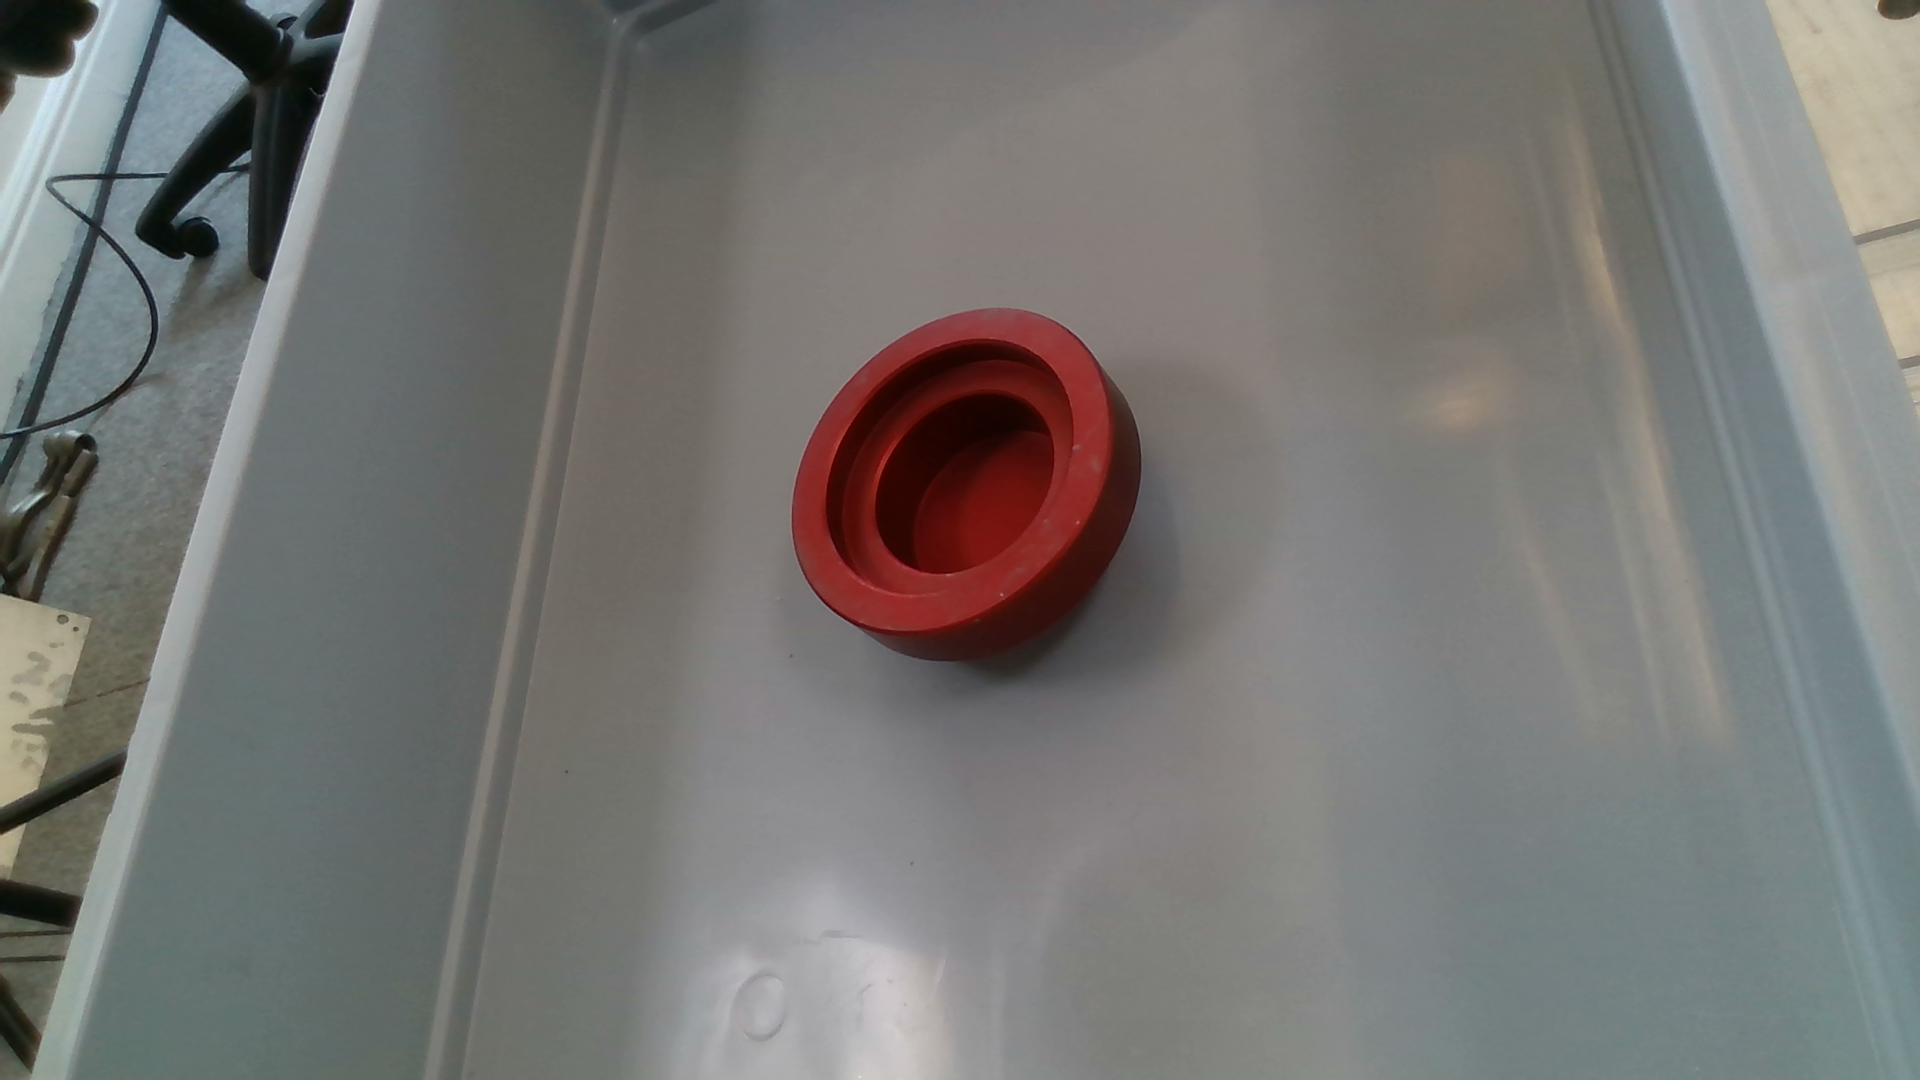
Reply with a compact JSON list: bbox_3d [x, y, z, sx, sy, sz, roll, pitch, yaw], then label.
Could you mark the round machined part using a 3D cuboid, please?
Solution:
[{"bbox_3d":[0.005,-0.012,0.382,0.098,0.042,0.098,-14,59,25],"label":"round machined part"}]
